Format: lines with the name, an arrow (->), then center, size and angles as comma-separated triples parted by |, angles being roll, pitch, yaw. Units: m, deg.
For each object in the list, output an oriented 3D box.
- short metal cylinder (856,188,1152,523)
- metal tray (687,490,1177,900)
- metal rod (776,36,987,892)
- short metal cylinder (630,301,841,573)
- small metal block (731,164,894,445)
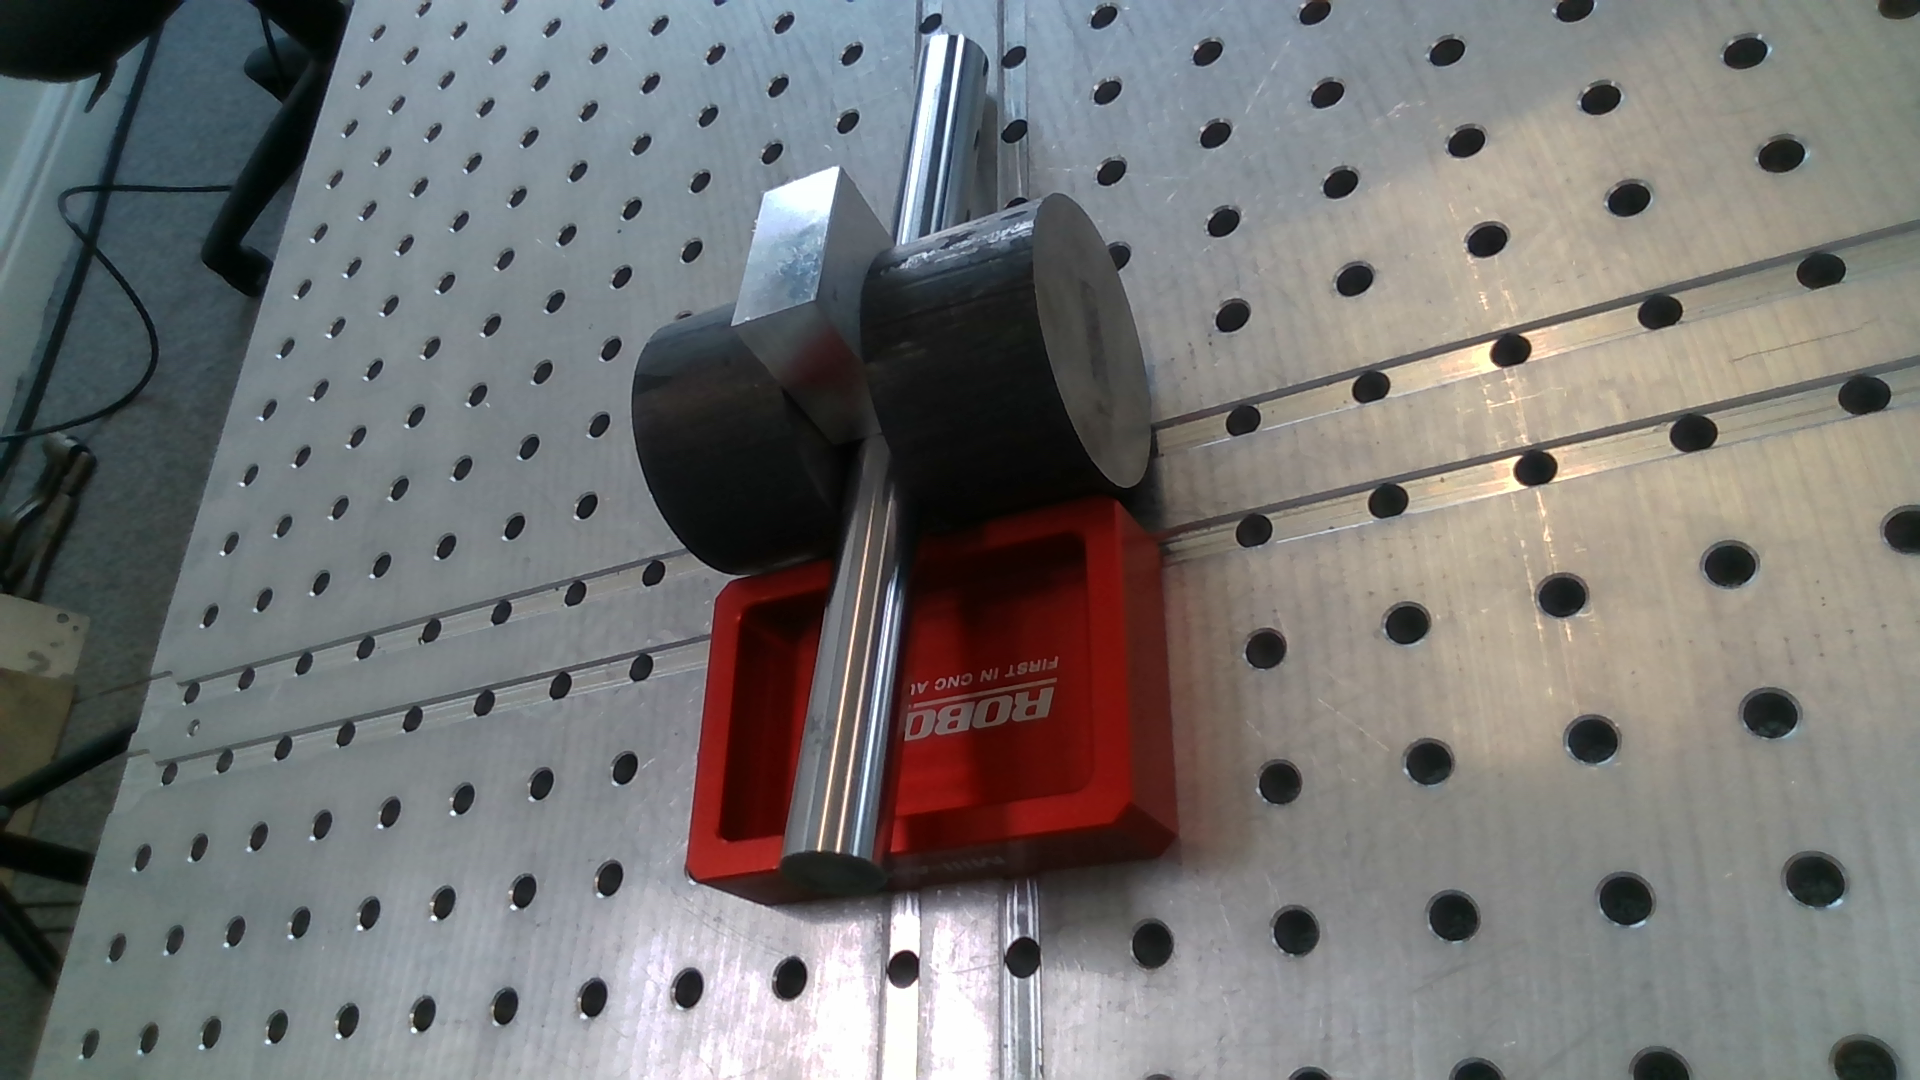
short metal cylinder -> 0.014, -0.049, 0.376 | 0.050, 0.080, 0.080 | -14, 59, 25
metal tray -> -0.010, 0.045, 0.375 | 0.130, 0.030, 0.090 | -13, 59, 25
metal rod -> -0.016, -0.046, 0.400 | 0.025, 0.025, 0.299 | -13, 50, 25
short metal cylinder -> -0.052, -0.034, 0.410 | 0.050, 0.080, 0.080 | -13, 59, 26
small metal block -> -0.033, -0.063, 0.372 | 0.025, 0.050, 0.050 | -14, 51, 25
